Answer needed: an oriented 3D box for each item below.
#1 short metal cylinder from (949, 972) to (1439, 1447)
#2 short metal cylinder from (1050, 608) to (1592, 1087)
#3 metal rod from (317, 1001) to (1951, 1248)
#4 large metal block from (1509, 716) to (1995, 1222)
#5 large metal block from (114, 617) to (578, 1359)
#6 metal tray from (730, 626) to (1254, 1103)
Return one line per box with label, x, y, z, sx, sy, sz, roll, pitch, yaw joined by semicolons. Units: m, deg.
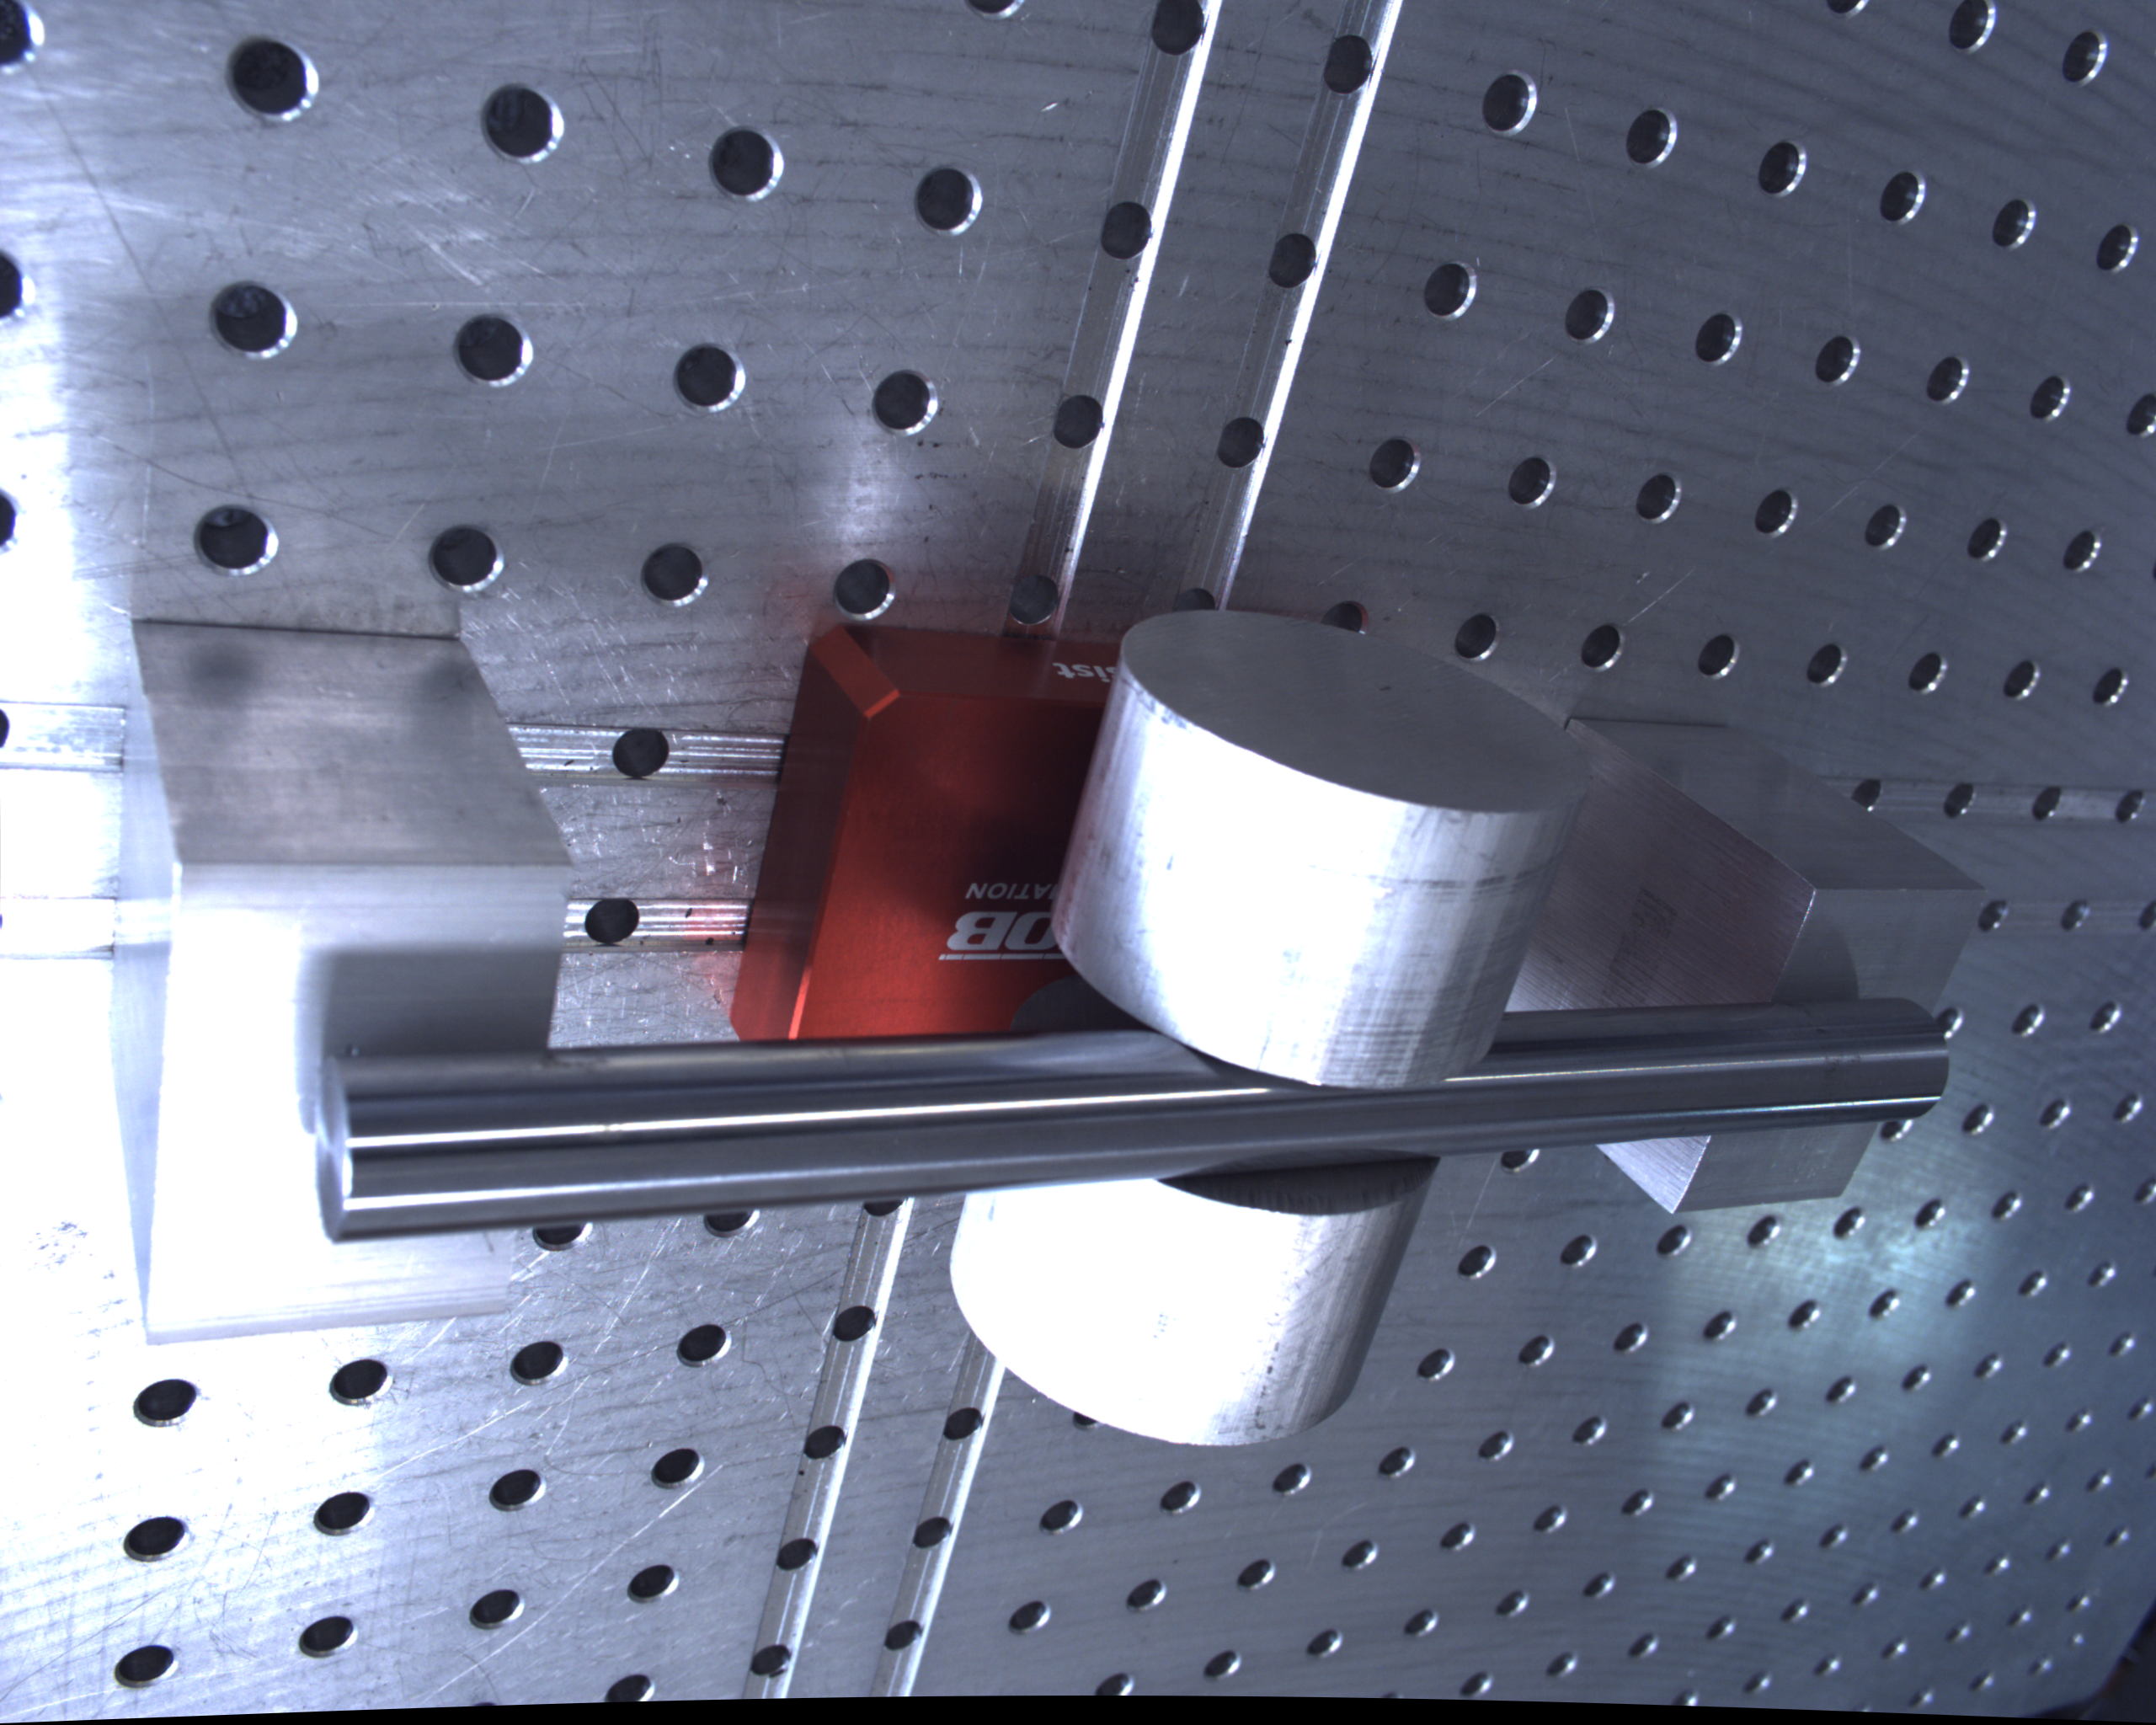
short metal cylinder;0.021;0.061;0.386;0.081;0.080;0.050;1;118;-29
short metal cylinder;0.040;-0.005;0.356;0.081;0.080;0.050;1;118;-29
metal rod;0.034;0.039;0.349;0.303;0.025;0.025;0;118;-29
large metal block;0.140;0.022;0.464;0.050;0.080;0.079;1;118;-29
large metal block;-0.117;0.016;0.320;0.050;0.080;0.079;1;118;-29
metal tray;0.005;0.004;0.413;0.131;0.030;0.089;1;118;-29
